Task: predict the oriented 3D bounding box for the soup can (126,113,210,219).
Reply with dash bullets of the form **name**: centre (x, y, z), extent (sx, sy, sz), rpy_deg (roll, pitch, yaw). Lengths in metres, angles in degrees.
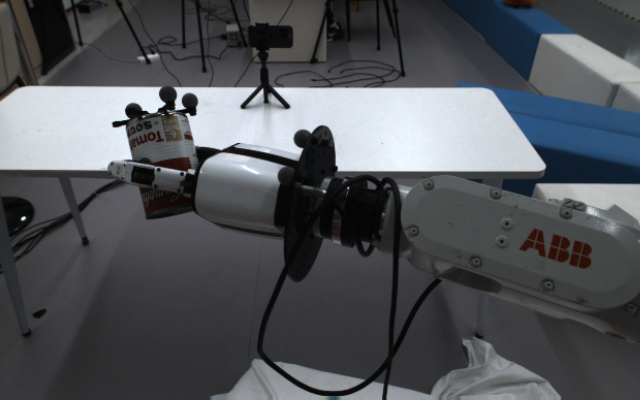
- **soup can**: centre (-0.163, -0.035, 0.523), extent (0.067, 0.101, 0.067), rpy_deg (-14, -3, -1)
